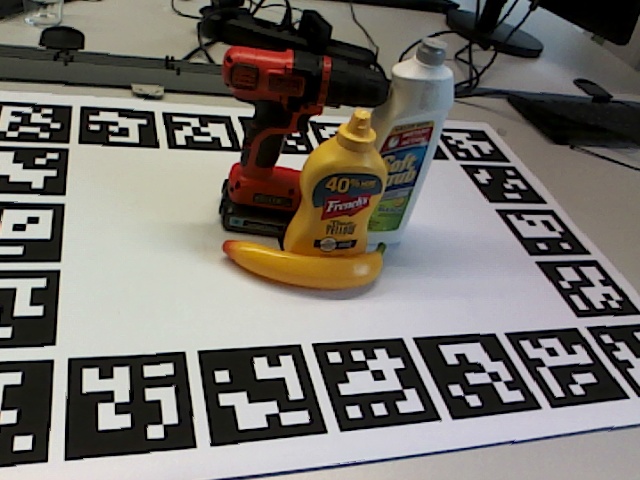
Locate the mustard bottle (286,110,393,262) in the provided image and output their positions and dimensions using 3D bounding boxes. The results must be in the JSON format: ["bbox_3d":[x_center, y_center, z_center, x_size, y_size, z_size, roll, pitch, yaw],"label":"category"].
[{"bbox_3d":[0.027,-0.054,0.673,0.096,0.191,0.059,1,41,-19],"label":"mustard bottle"}]

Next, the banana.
[{"bbox_3d":[-0.004,0.029,0.699,0.197,0.039,0.074,2,42,-13],"label":"banana"}]

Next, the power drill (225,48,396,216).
[{"bbox_3d":[-0.024,-0.117,0.699,0.184,0.187,0.057,9,38,-10],"label":"power drill"}]

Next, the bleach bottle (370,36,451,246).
[{"bbox_3d":[0.084,-0.111,0.722,0.102,0.250,0.068,2,35,-17],"label":"bleach bottle"}]
